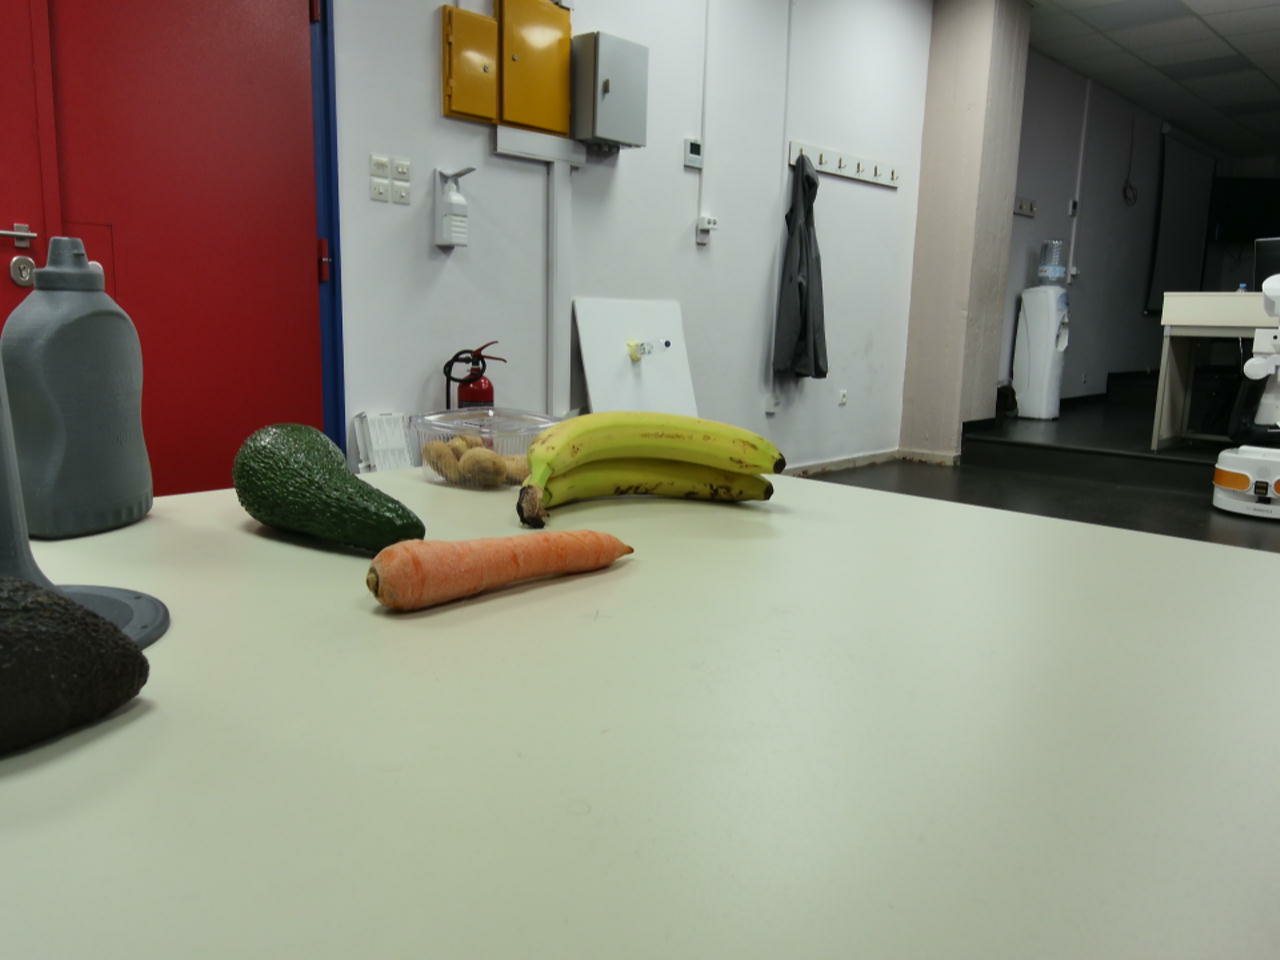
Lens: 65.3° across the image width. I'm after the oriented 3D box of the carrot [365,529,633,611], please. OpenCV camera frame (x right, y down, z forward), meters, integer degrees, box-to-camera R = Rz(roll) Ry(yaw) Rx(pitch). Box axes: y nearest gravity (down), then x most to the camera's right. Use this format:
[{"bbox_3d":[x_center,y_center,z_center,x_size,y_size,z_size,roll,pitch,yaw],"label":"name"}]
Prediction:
[{"bbox_3d":[-0.076,0.045,0.603,0.039,0.041,0.196,7,12,43],"label":"carrot"}]
